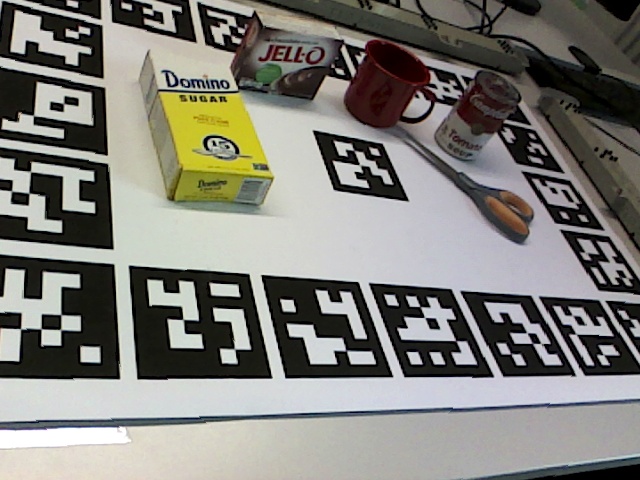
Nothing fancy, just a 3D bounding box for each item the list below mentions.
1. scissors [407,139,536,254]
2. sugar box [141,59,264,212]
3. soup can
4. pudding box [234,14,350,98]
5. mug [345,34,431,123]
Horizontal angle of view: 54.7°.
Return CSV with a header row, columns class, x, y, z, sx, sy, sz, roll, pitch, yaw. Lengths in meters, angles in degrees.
class,x,y,z,sx,sy,sz,roll,pitch,yaw
scissors,0.193,-0.068,0.799,0.203,0.016,0.087,41,52,6
sugar box,-0.123,-0.108,0.630,0.092,0.045,0.177,1,53,-28
soup can,0.205,-0.163,0.842,0.067,0.102,0.068,16,44,-17
pudding box,-0.035,-0.217,0.739,0.113,0.090,0.039,-4,61,-34
mug,0.093,-0.202,0.813,0.117,0.081,0.093,43,46,12
